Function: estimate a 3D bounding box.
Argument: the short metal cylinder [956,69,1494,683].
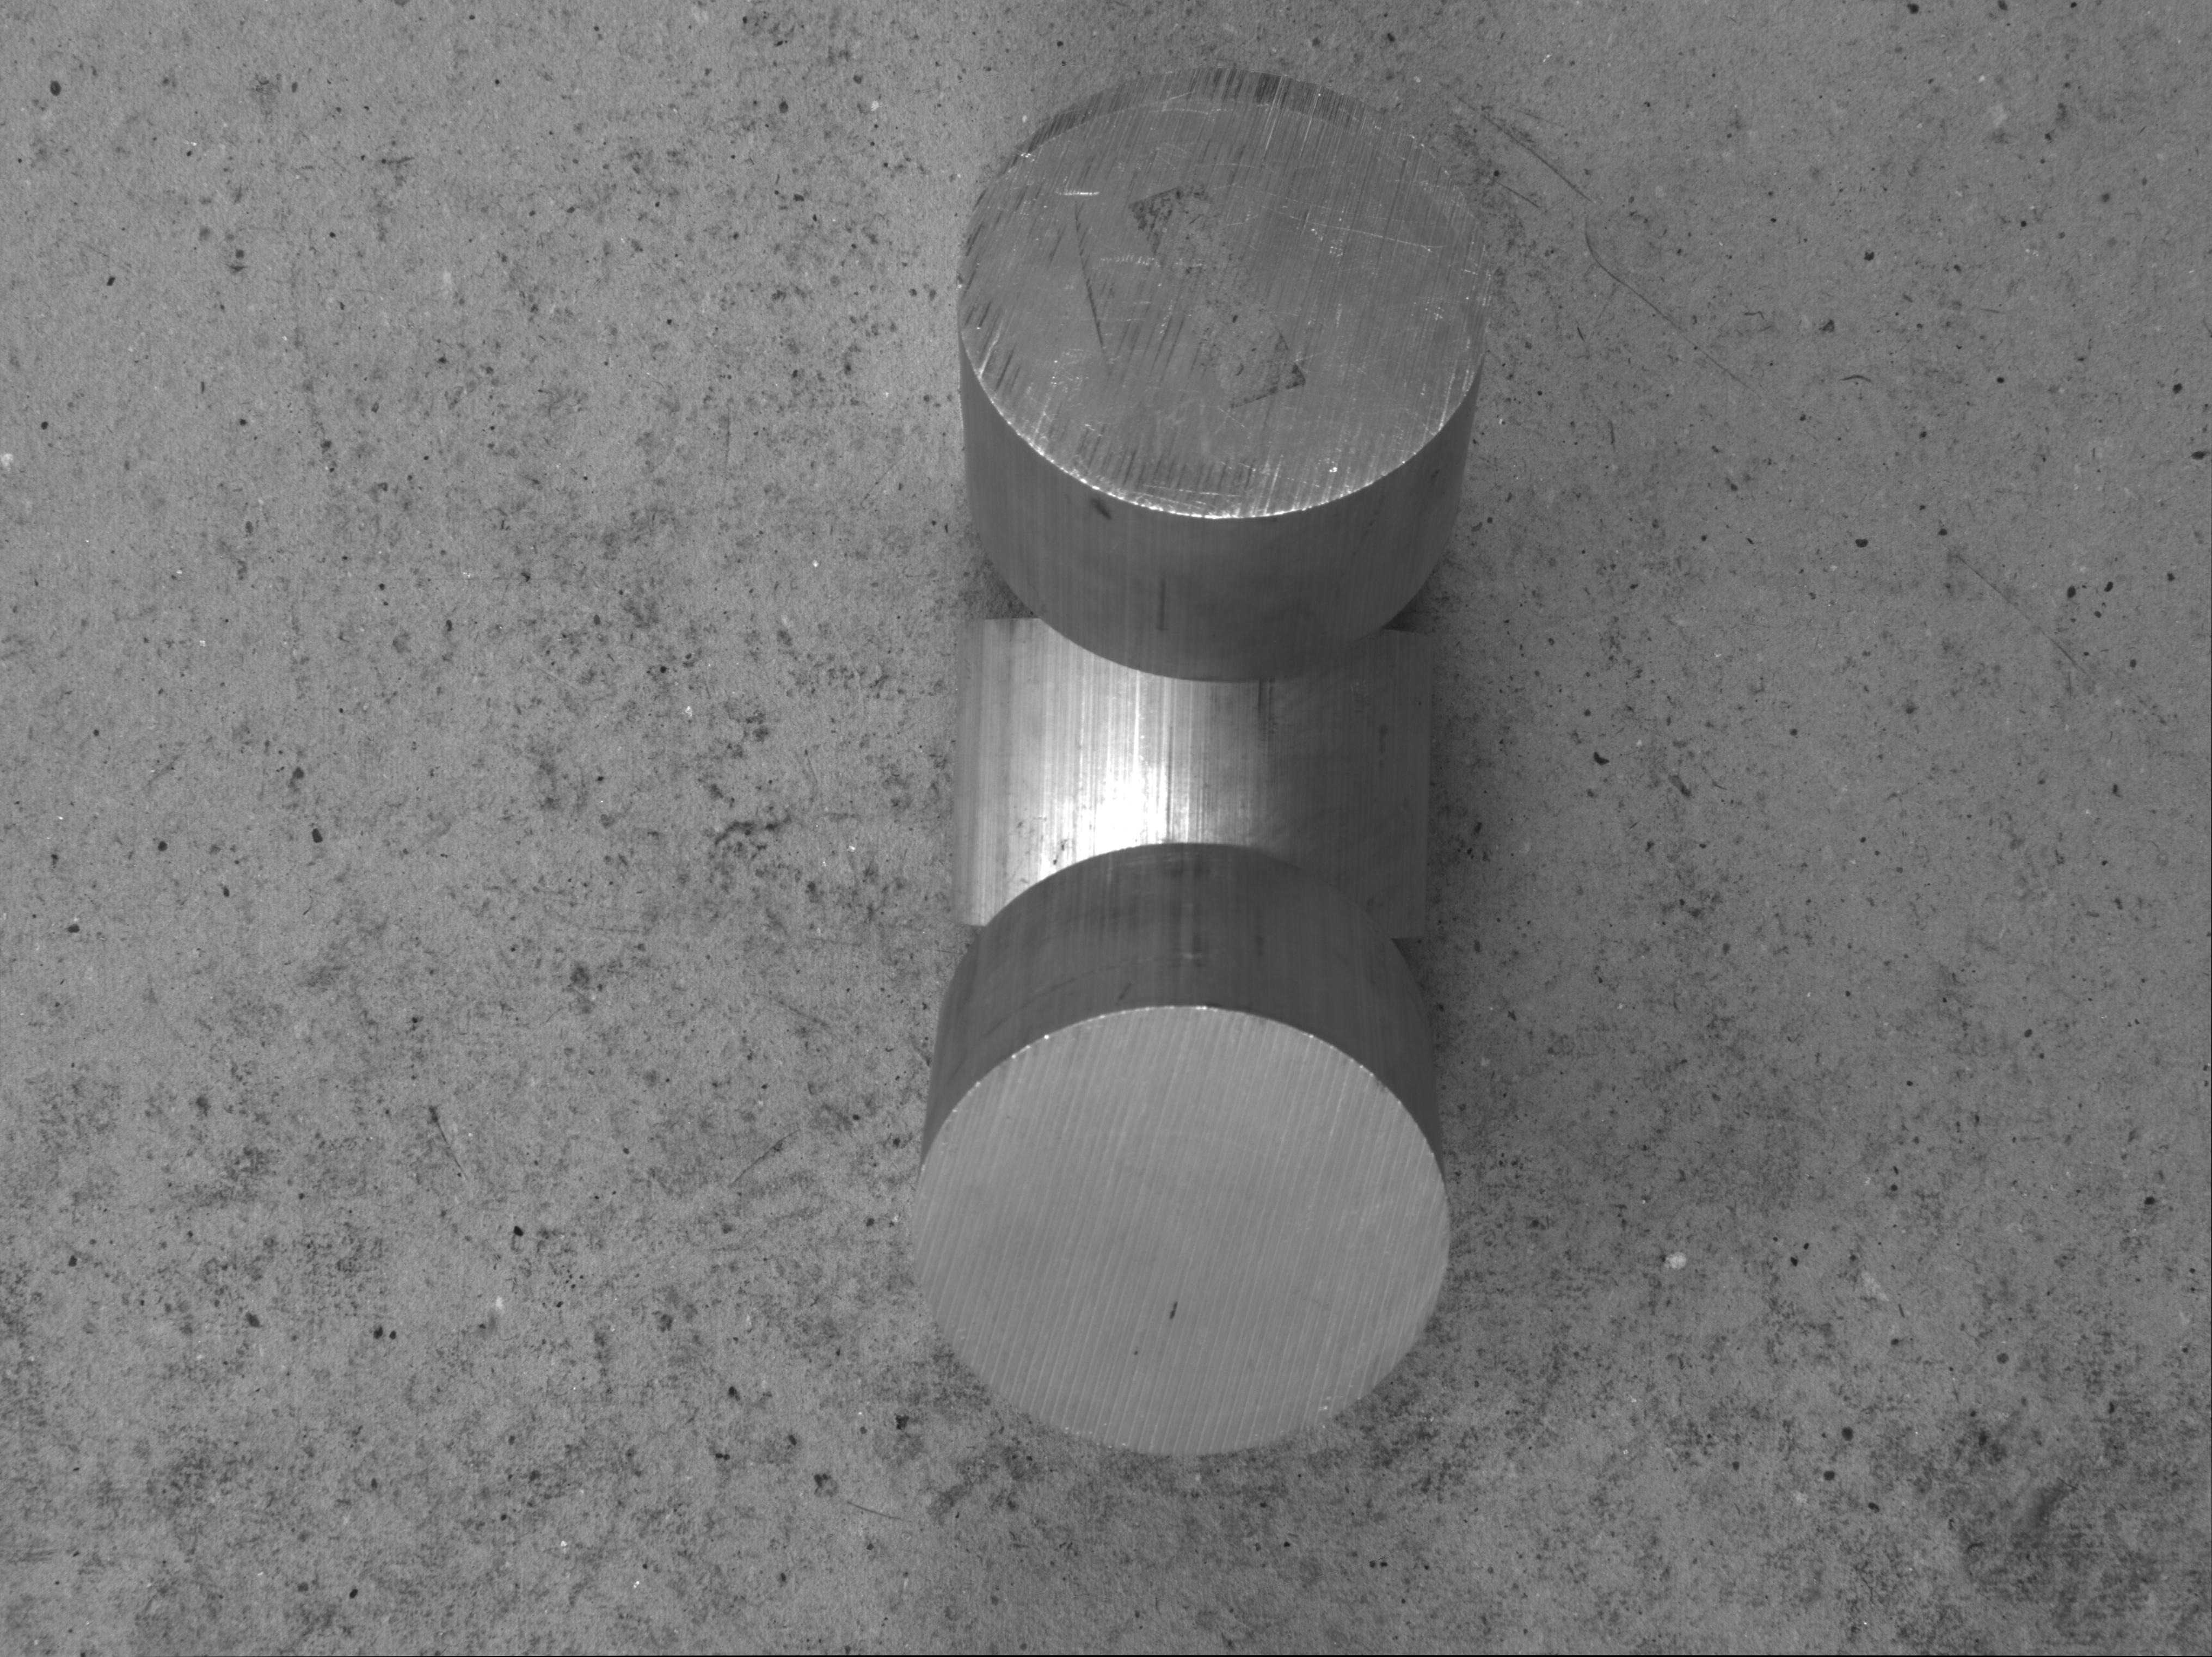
[{"bbox_3d":[0.017,-0.070,0.568,0.080,0.050,0.080,0,64,-1],"label":"short metal cylinder"}]

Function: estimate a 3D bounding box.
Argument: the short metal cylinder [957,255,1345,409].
[{"bbox_3d":[0.015,-0.074,0.633,0.080,0.050,0.080,0,90,0],"label":"short metal cylinder"}]

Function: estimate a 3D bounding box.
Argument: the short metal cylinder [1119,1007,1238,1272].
[{"bbox_3d":[0.013,0.062,0.633,0.080,0.050,0.080,0,90,0],"label":"short metal cylinder"}]

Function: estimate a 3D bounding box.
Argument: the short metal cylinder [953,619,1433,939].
[{"bbox_3d":[0.015,-0.008,0.618,0.080,0.080,0.050,2,90,0],"label":"short metal cylinder"}]

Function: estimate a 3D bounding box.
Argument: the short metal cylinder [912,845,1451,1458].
[{"bbox_3d":[0.012,0.050,0.567,0.080,0.050,0.080,0,118,1],"label":"short metal cylinder"}]
